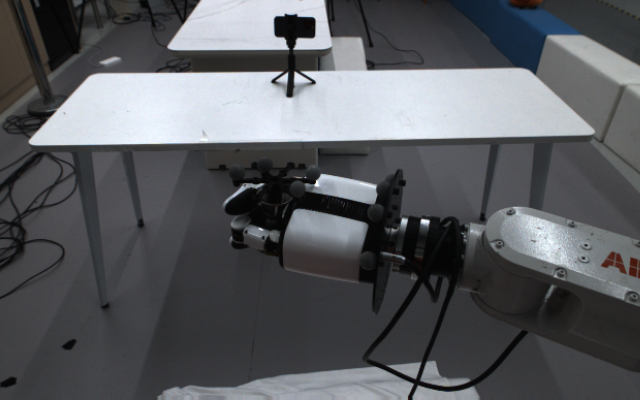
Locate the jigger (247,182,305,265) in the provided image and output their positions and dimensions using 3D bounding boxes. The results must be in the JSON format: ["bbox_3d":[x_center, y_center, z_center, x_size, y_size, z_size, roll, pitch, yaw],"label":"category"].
[{"bbox_3d":[-0.051,0.020,0.553,0.043,0.071,0.043,4,31,-2],"label":"jigger"}]
